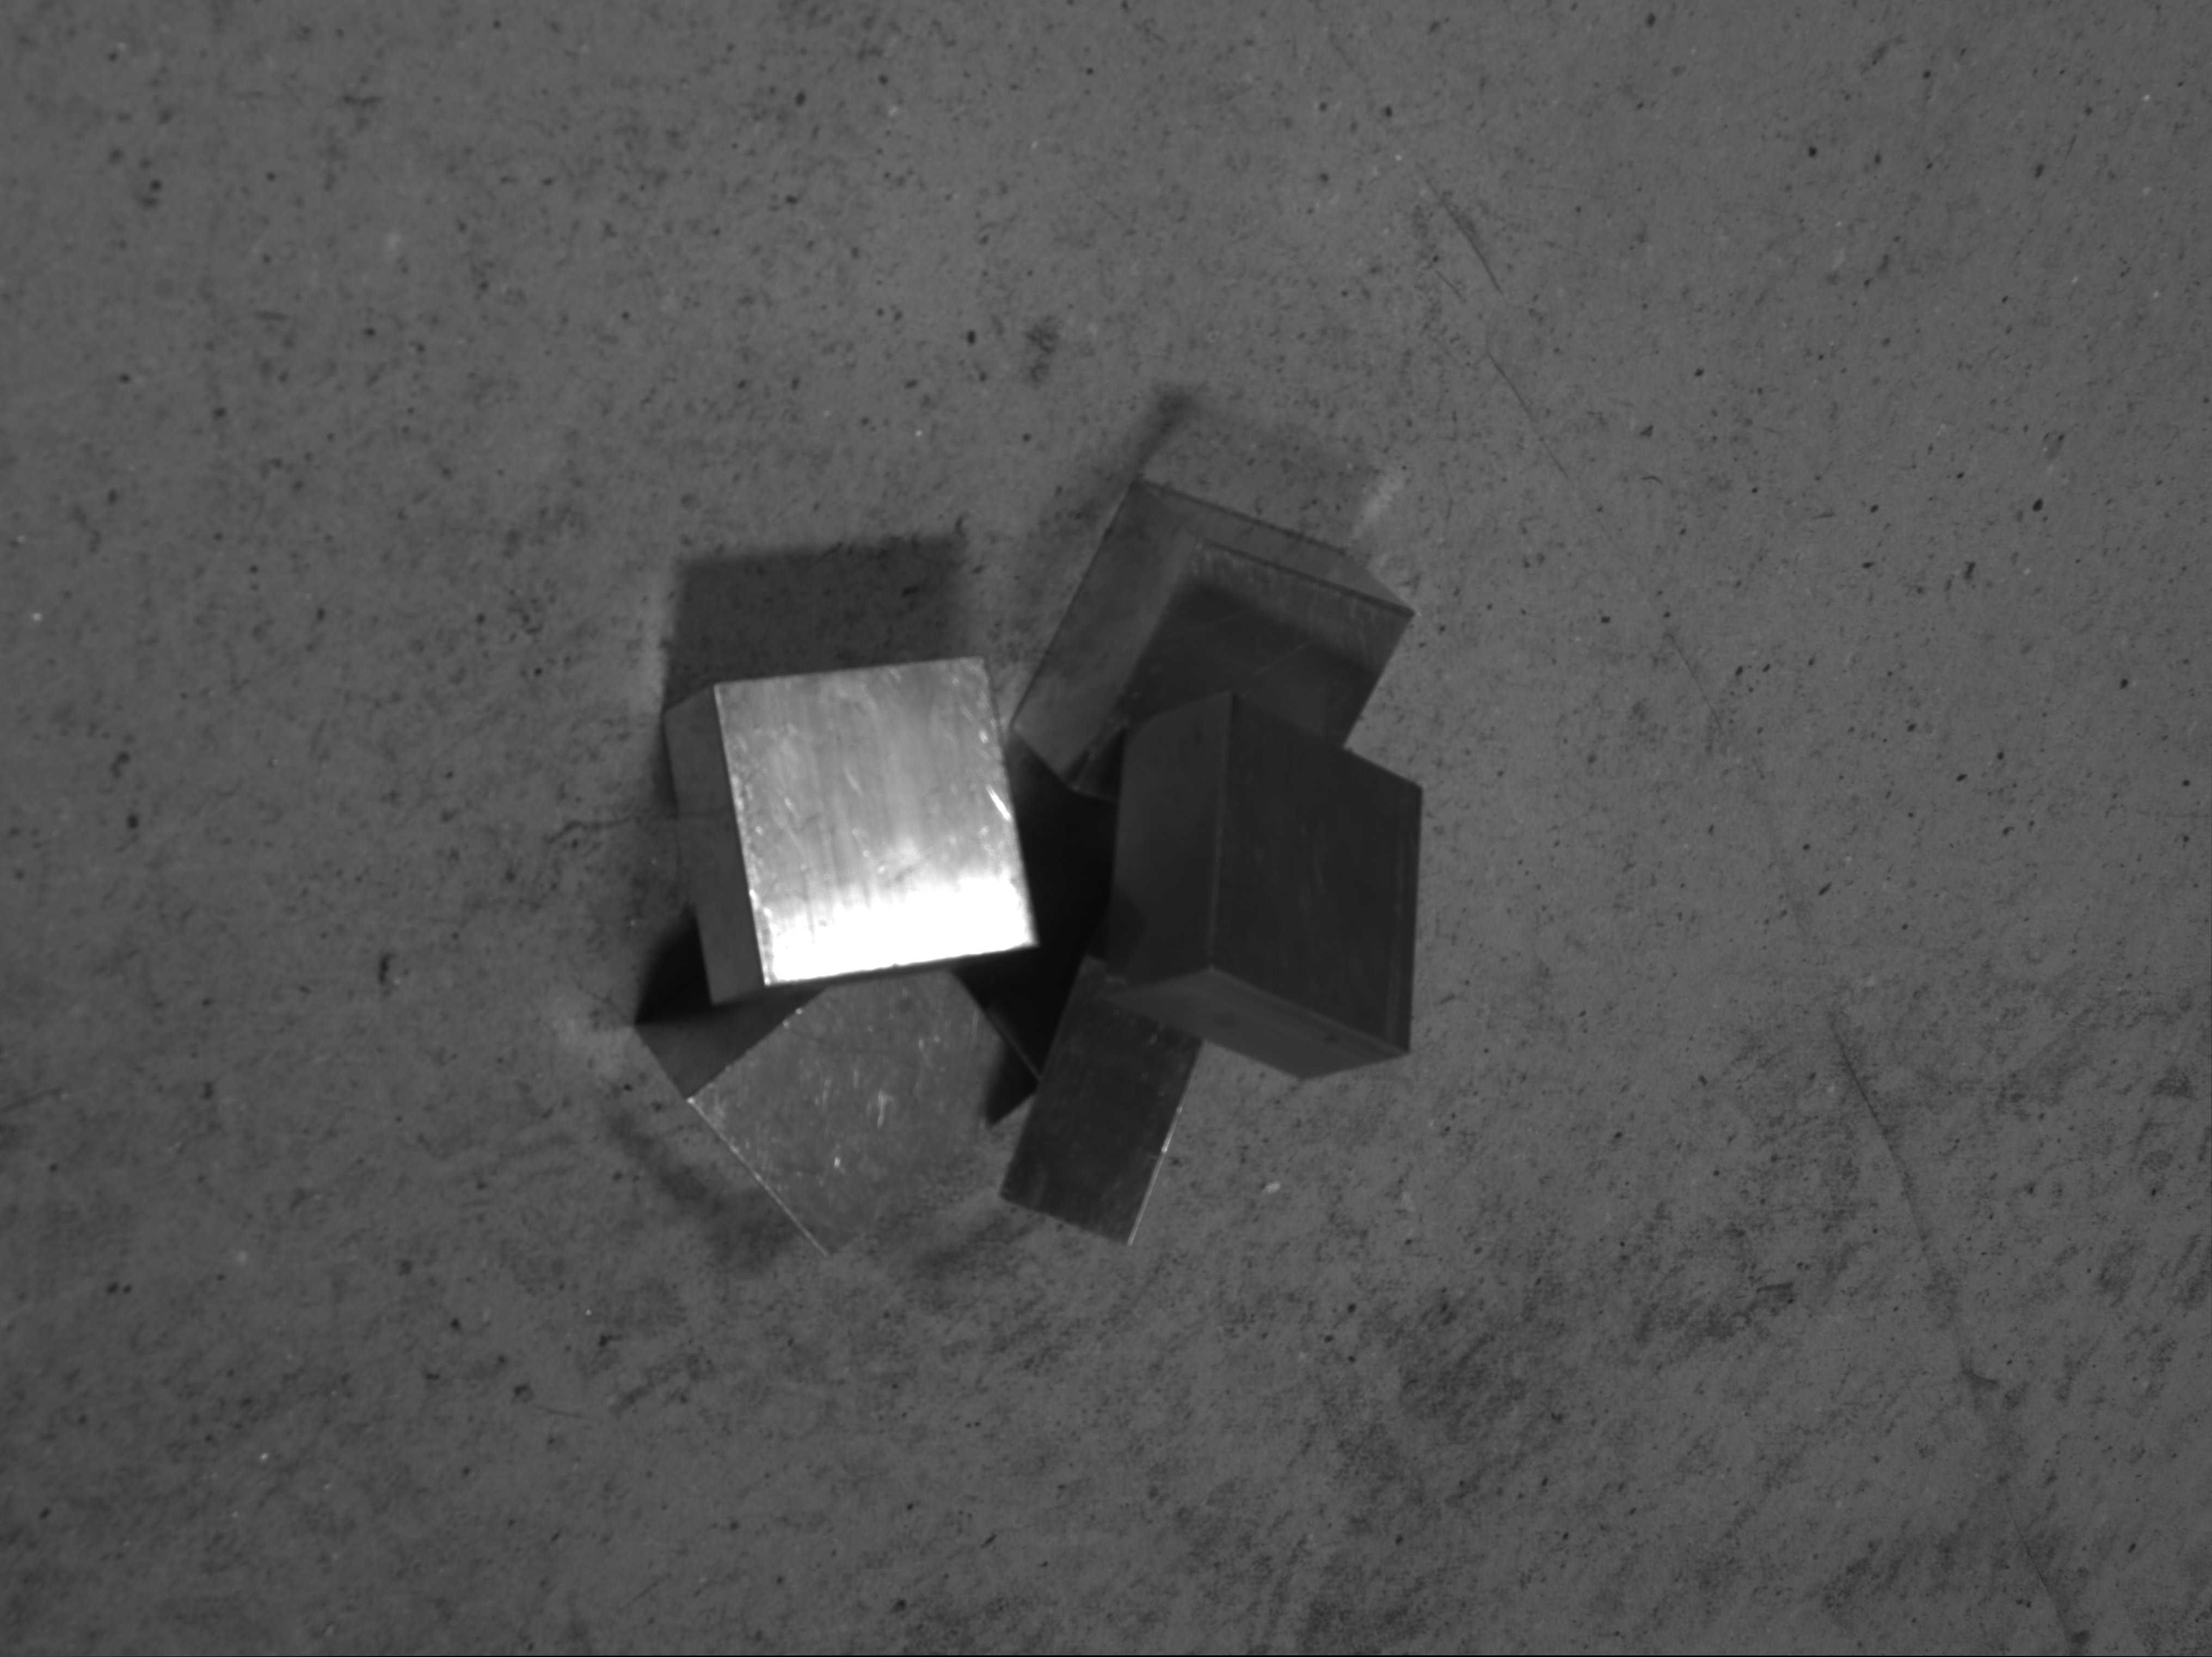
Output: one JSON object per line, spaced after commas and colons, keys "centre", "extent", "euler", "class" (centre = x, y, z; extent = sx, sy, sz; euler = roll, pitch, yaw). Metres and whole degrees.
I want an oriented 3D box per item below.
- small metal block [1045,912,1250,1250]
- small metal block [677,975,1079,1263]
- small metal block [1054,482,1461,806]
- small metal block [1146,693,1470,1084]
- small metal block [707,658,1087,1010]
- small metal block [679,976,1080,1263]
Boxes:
{"centre": [0.013, 0.040, 0.664], "extent": [0.025, 0.050, 0.050], "euler": [20, 111, 3], "class": "small metal block"}
{"centre": [-0.039, 0.041, 0.654], "extent": [0.050, 0.025, 0.050], "euler": [-39, 130, -4], "class": "small metal block"}
{"centre": [0.027, -0.028, 0.650], "extent": [0.050, 0.025, 0.050], "euler": [15, 110, -36], "class": "small metal block"}
{"centre": [0.035, 0.011, 0.628], "extent": [0.050, 0.025, 0.050], "euler": [24, 61, -38], "class": "small metal block"}
{"centre": [-0.035, 0.001, 0.615], "extent": [0.050, 0.025, 0.050], "euler": [-8, 84, -27], "class": "small metal block"}
{"centre": [-0.039, 0.041, 0.654], "extent": [0.050, 0.025, 0.050], "euler": [-39, 130, -4], "class": "small metal block"}
